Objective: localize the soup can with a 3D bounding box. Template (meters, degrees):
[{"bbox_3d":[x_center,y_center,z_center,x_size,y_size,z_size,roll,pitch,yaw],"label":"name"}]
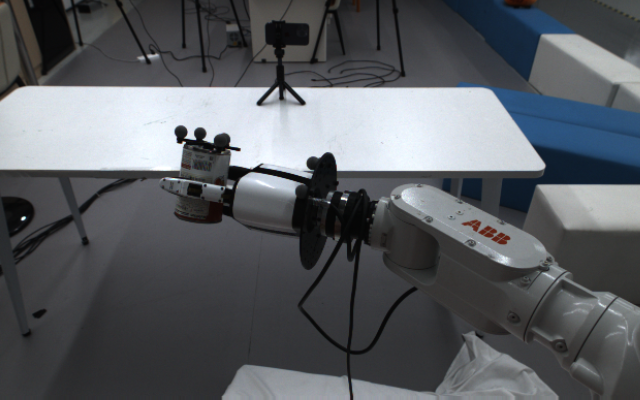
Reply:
[{"bbox_3d":[-0.165,-0.022,0.683,0.067,0.101,0.067,10,9,-2],"label":"soup can"}]
